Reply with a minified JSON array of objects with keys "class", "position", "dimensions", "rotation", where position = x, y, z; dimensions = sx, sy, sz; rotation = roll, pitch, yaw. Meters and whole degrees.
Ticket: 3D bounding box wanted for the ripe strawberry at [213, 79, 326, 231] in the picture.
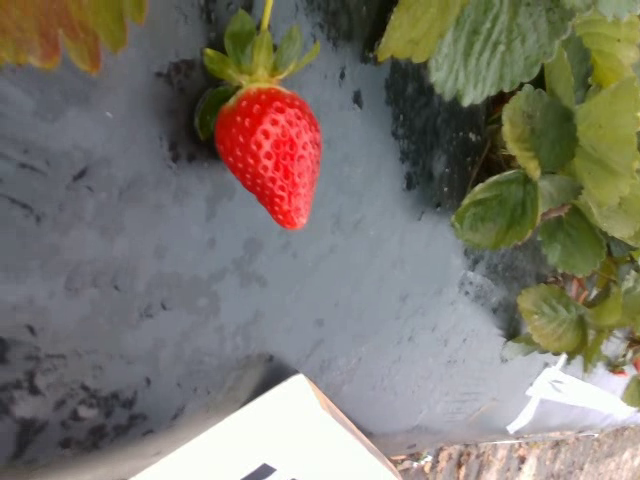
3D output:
[{"class":"ripe strawberry","position":[-0.015,-0.029,0.216],"dimensions":[0.045,0.054,0.048],"rotation":[-5,1,-31]}]
